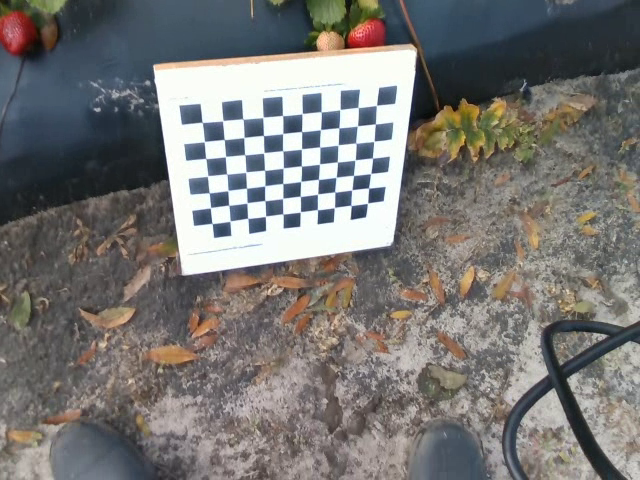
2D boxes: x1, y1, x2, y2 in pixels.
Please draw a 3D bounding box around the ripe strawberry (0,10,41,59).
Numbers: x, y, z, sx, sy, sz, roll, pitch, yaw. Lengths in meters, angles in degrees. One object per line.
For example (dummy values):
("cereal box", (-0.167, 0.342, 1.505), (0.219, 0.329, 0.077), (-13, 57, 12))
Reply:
("ripe strawberry", (-0.339, -0.227, 0.746), (0.050, 0.053, 0.049), (-15, -30, -9))
